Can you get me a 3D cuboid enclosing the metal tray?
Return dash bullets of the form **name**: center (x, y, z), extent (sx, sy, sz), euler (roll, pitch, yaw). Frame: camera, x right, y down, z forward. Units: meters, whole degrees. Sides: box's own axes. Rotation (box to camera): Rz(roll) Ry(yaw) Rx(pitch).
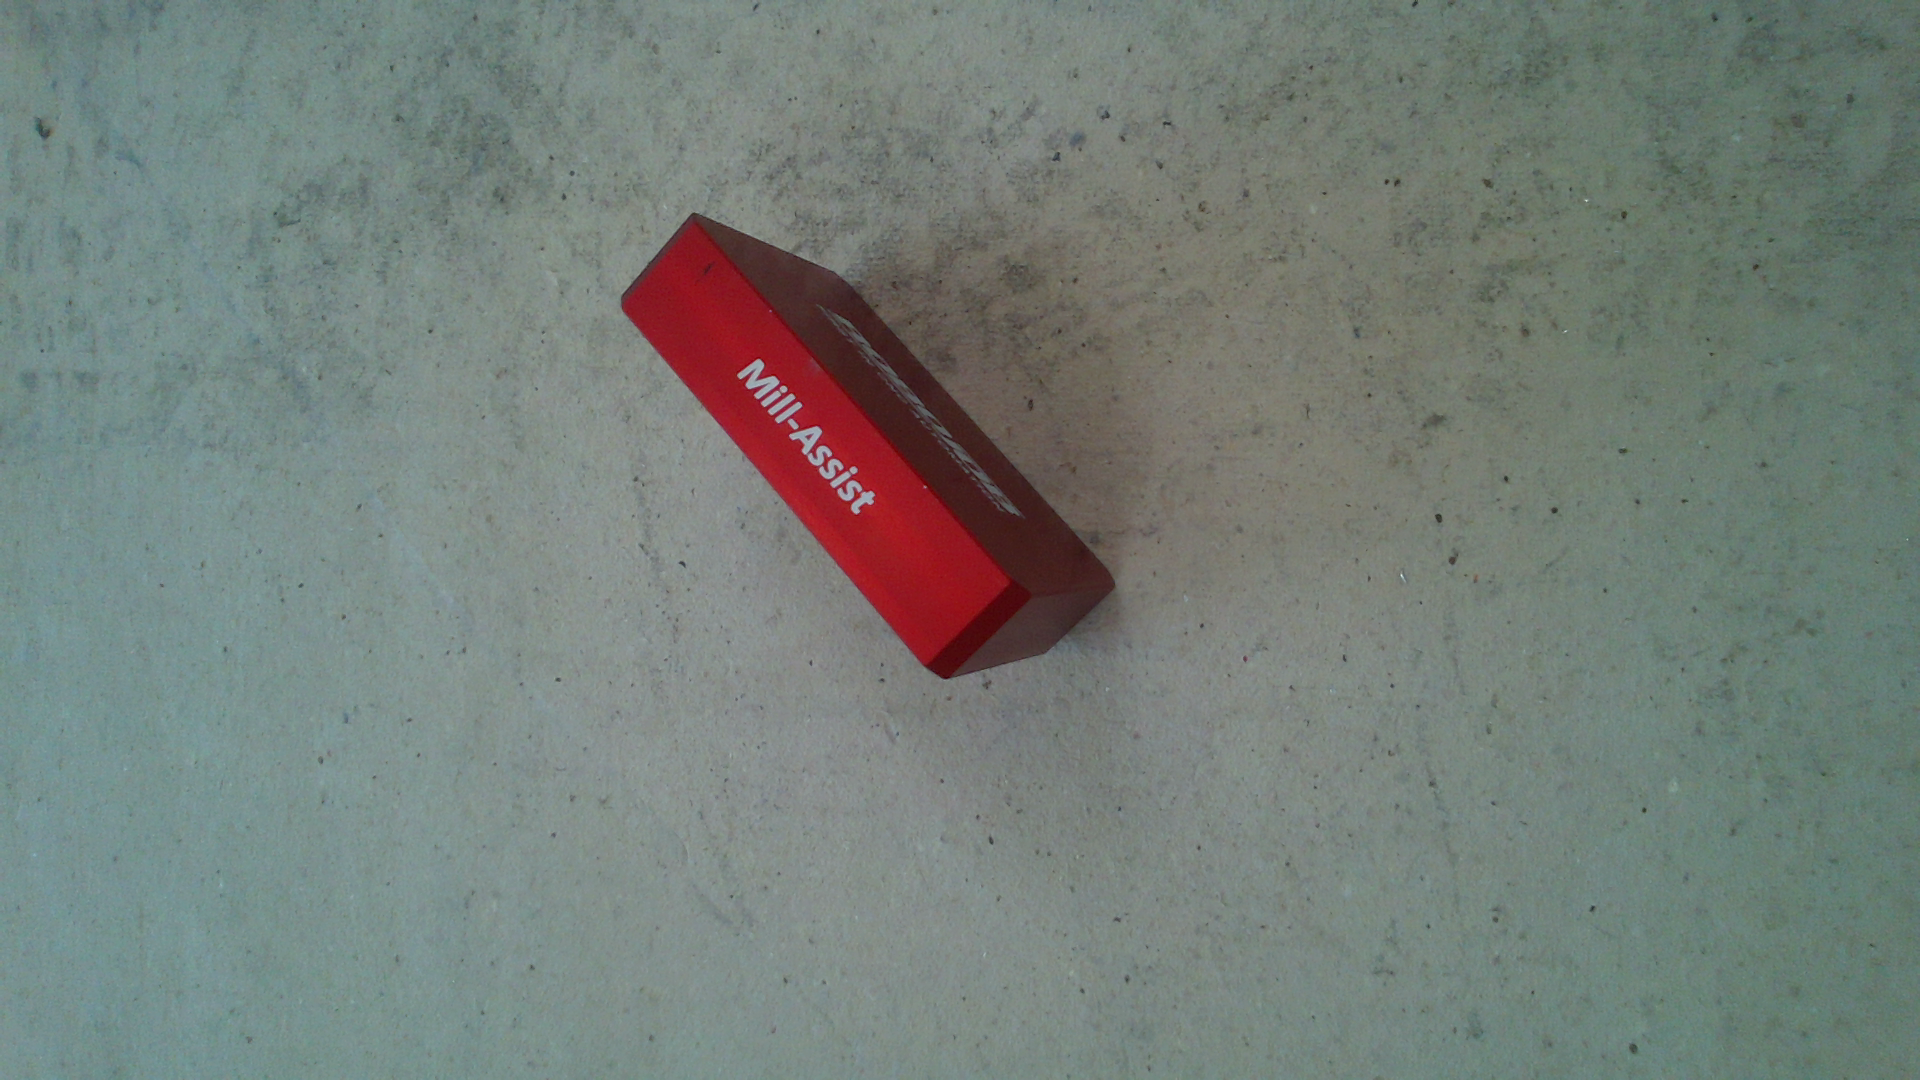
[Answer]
- **metal tray**: center (-0.021, -0.025, 0.369), extent (0.030, 0.090, 0.130), euler (-45, 77, 15)
